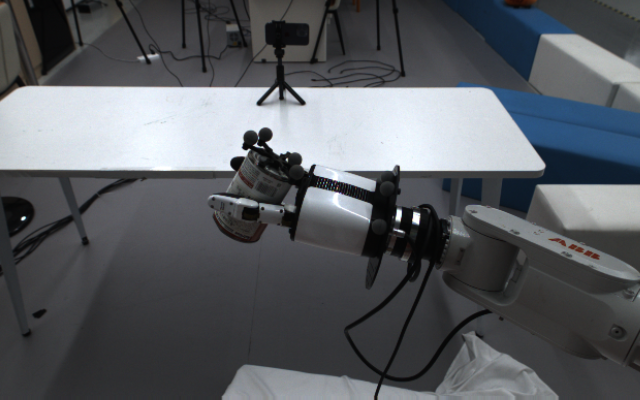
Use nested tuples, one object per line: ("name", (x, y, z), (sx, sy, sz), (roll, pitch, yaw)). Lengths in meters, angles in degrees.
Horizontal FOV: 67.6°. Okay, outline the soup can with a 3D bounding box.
("soup can", (-0.081, -0.005, 0.605), (0.067, 0.101, 0.067), (28, 22, -12))
